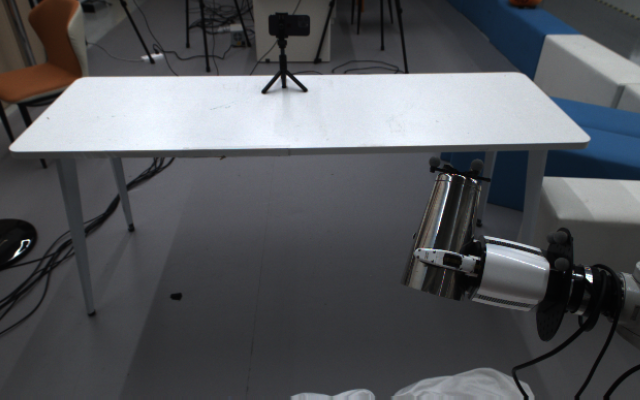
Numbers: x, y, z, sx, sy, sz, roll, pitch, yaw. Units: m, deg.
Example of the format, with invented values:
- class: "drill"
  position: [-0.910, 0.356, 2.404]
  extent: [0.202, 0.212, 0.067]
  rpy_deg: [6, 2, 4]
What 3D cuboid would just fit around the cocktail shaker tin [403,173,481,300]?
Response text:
- class: "cocktail shaker tin"
  position: [0.184, 0.051, 0.709]
  extent: [0.093, 0.170, 0.093]
  rpy_deg: [15, -4, 1]
